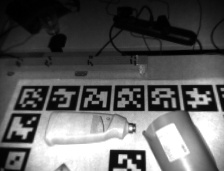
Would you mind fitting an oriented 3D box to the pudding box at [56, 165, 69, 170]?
[{"bbox_3d":[-0.126,0.276,0.549,0.090,0.039,0.112,-36,62,-23],"label":"pudding box"}]

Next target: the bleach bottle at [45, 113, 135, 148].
[{"bbox_3d":[-0.059,0.126,0.633,0.250,0.068,0.102,-3,61,2],"label":"bleach bottle"}]

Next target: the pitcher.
[{"bbox_3d":[0.192,0.201,0.538,0.191,0.132,0.240,-2,54,-37],"label":"pitcher"}]
